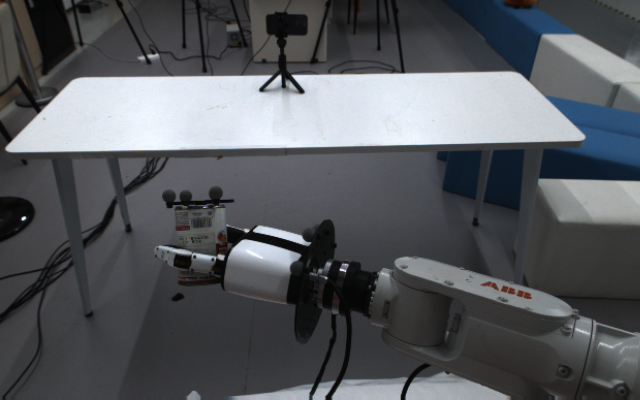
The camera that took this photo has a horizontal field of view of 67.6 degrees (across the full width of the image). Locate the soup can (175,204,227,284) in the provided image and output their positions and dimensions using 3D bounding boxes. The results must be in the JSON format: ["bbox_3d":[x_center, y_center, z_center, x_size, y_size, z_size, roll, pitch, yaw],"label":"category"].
[{"bbox_3d":[-0.156,0.060,0.641,0.067,0.101,0.067,-3,-2,0],"label":"soup can"}]
